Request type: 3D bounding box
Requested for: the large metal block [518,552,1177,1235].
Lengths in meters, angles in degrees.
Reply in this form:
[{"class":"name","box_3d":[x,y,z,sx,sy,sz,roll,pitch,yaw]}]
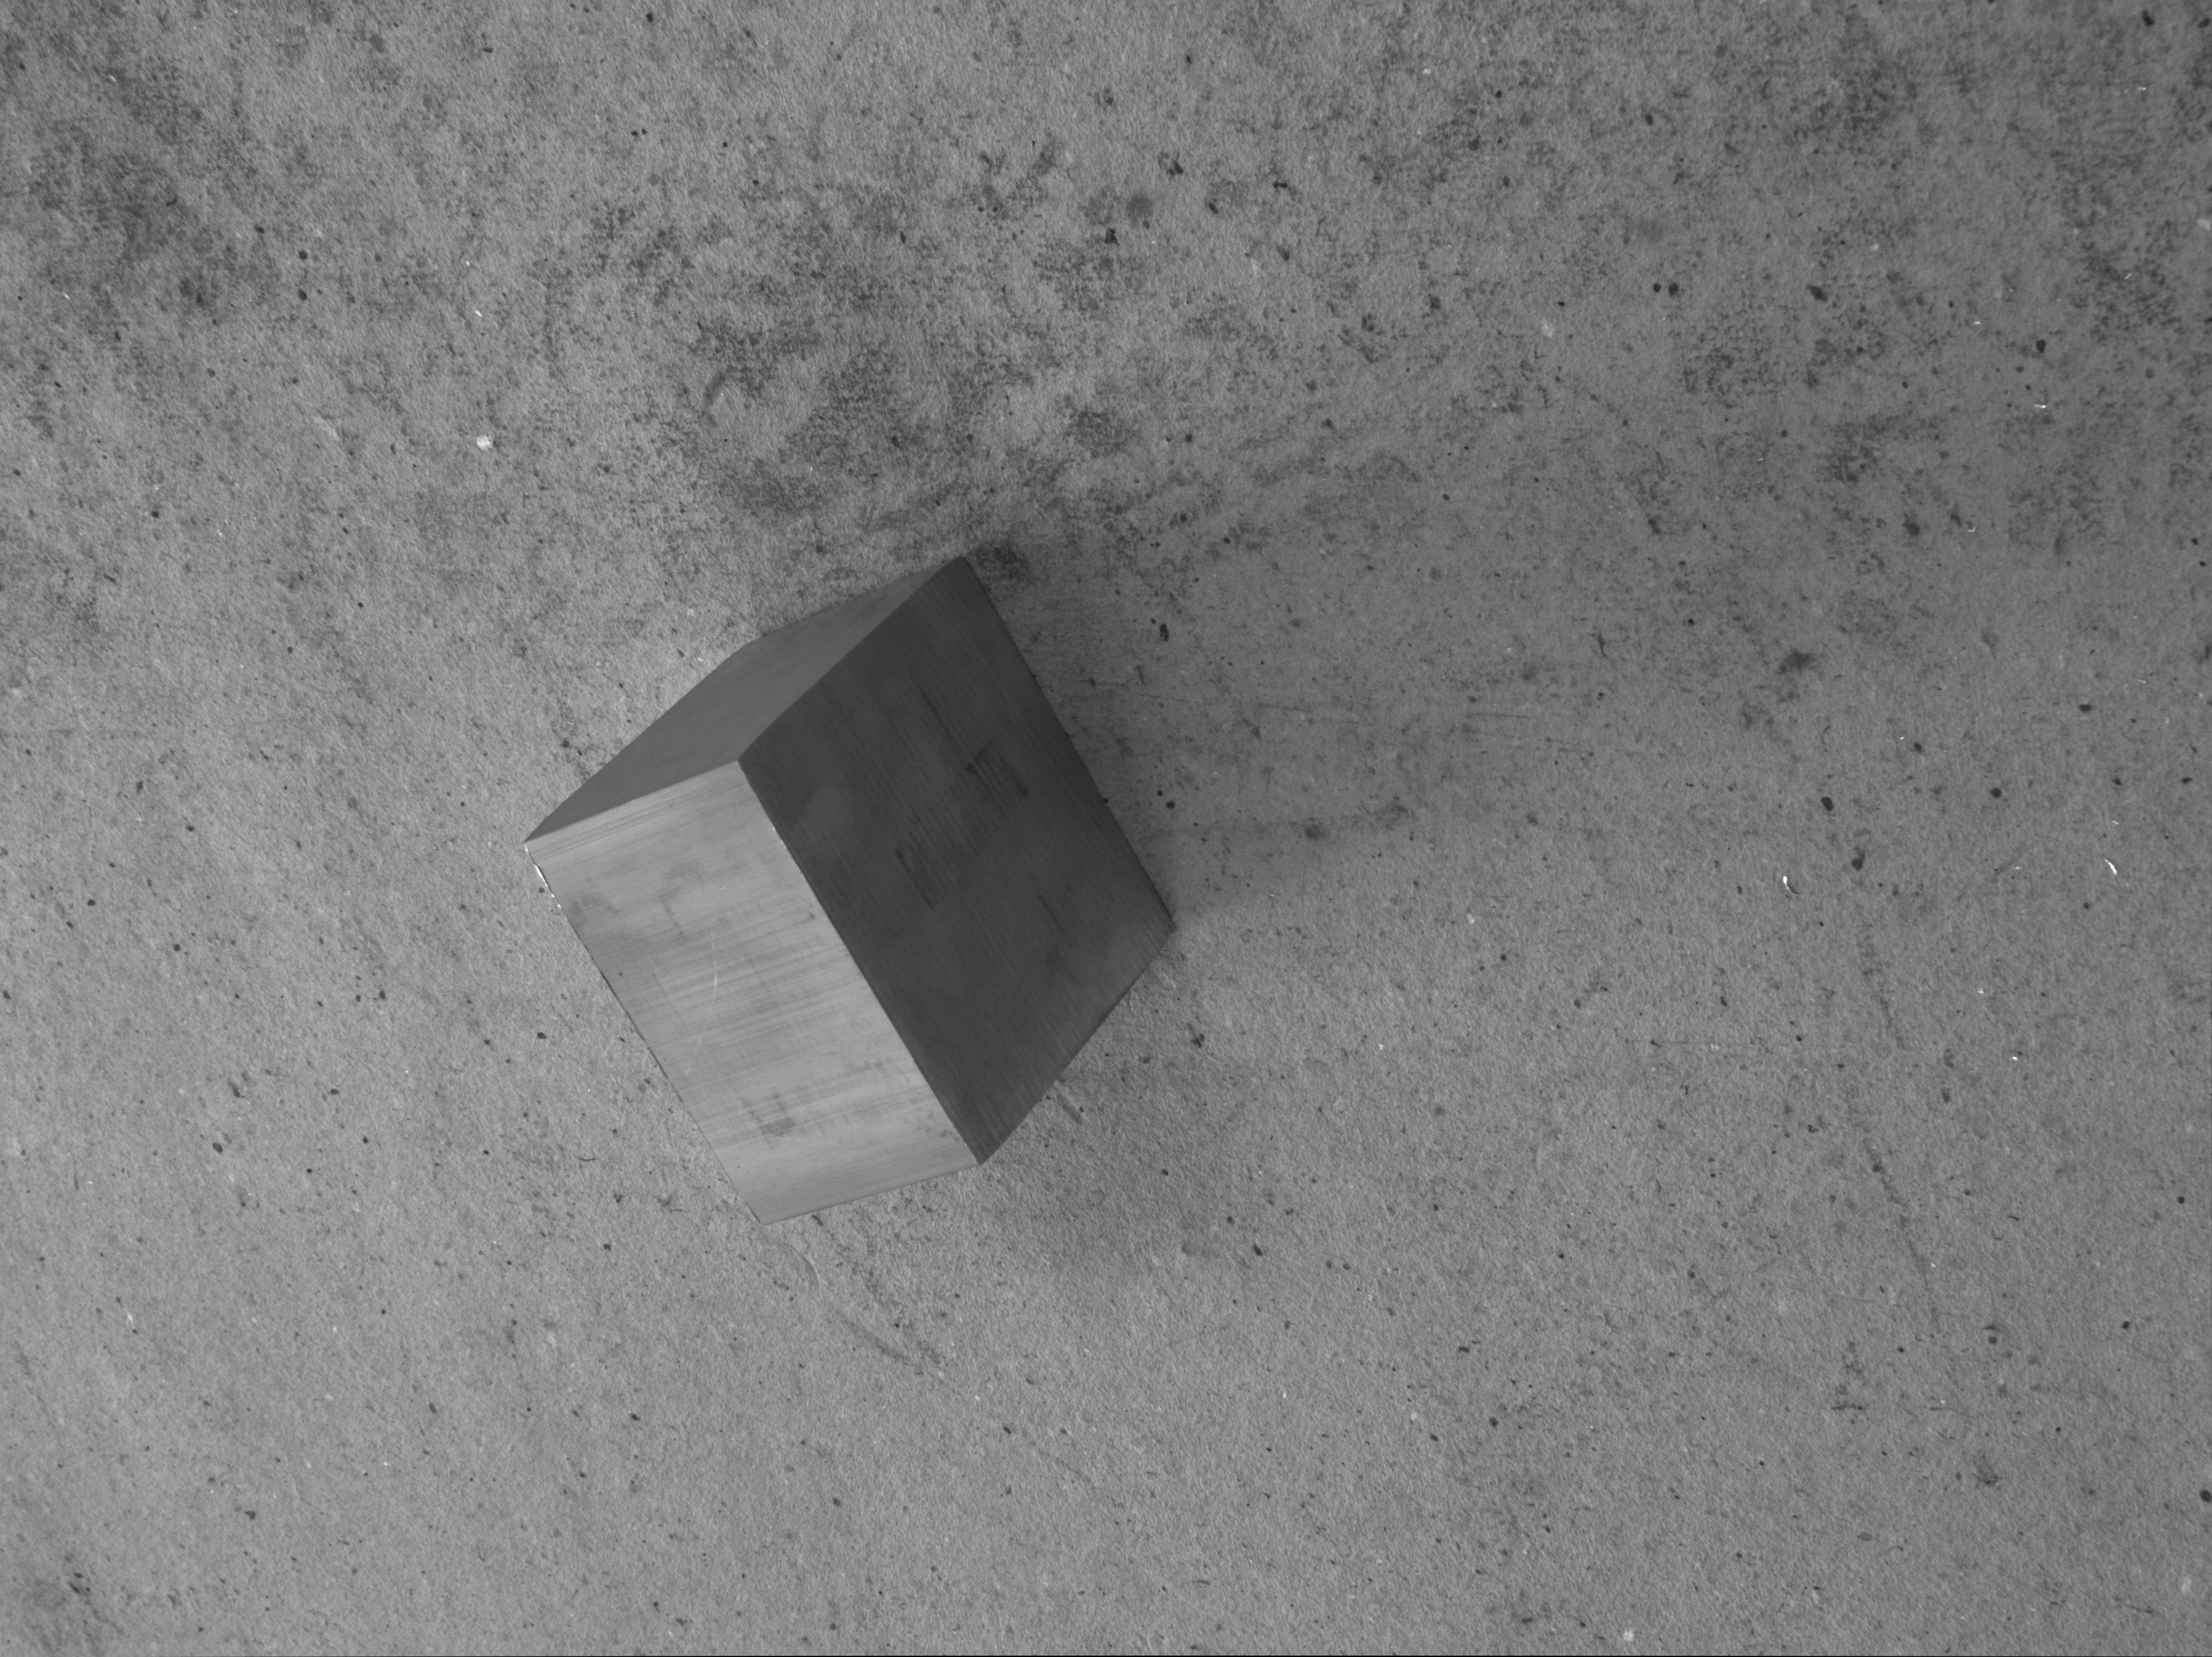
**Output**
[{"class":"large metal block","box_3d":[-0.042,0.011,0.637,0.050,0.080,0.080,-19,108,35]}]
